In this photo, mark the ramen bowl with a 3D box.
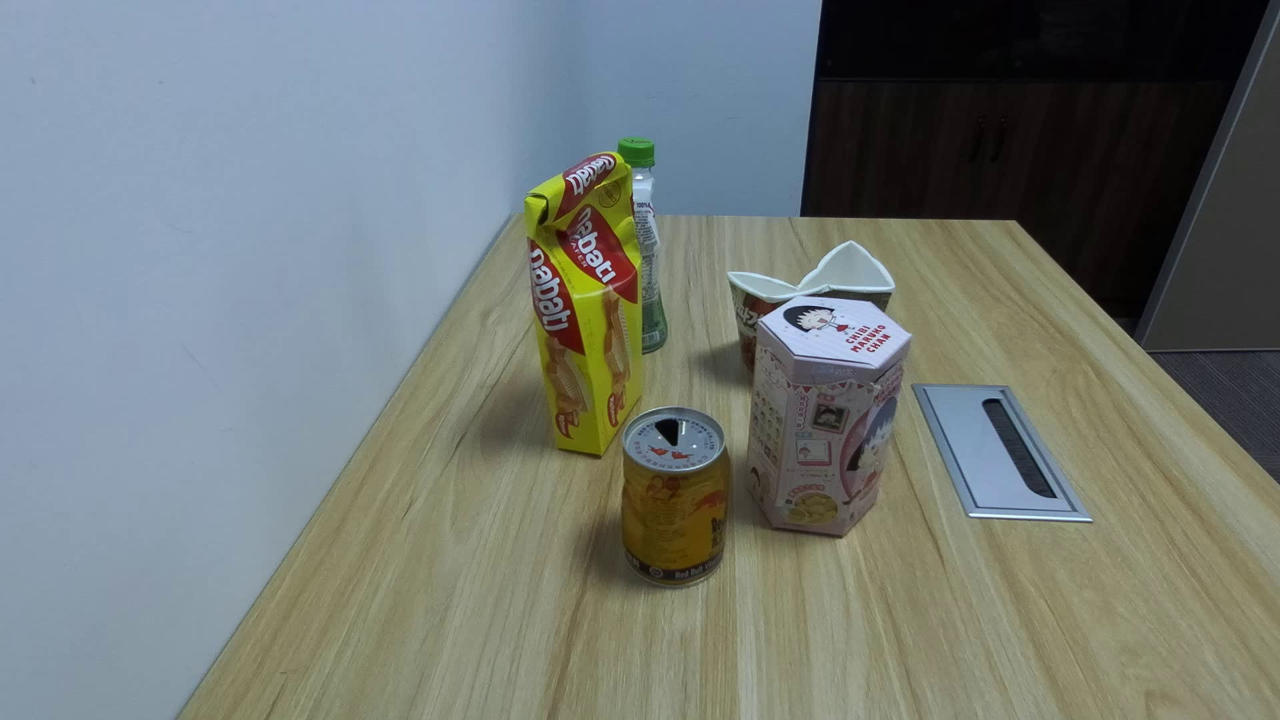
[{"bbox_3d":[0.139,-0.039,0.613,0.128,0.093,0.111,-6,33,-7],"label":"ramen bowl"}]

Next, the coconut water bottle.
[{"bbox_3d":[-0.005,-0.102,0.633,0.069,0.187,0.069,-1,28,1],"label":"coconut water bottle"}]

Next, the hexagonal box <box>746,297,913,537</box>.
[{"bbox_3d":[0.119,0.037,0.456,0.083,0.136,0.091,24,40,35],"label":"hexagonal box"}]

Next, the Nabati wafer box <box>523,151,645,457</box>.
[{"bbox_3d":[-0.035,-0.037,0.517,0.042,0.205,0.113,10,35,20],"label":"Nabati wafer box"}]
